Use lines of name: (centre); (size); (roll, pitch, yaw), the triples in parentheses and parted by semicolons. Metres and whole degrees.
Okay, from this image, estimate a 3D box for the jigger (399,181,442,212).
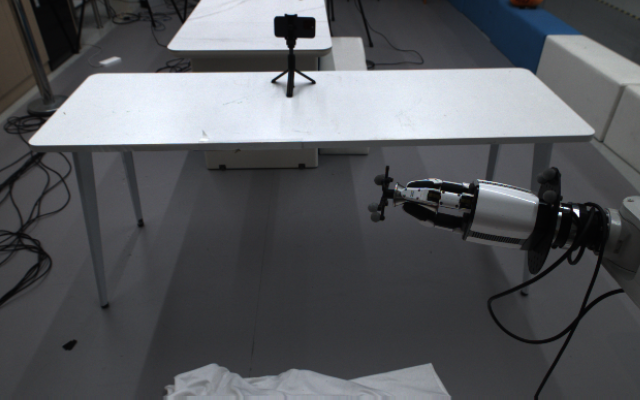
jigger: (0.157, -0.008, 0.754); (0.071, 0.043, 0.043); (8, 35, 15)
